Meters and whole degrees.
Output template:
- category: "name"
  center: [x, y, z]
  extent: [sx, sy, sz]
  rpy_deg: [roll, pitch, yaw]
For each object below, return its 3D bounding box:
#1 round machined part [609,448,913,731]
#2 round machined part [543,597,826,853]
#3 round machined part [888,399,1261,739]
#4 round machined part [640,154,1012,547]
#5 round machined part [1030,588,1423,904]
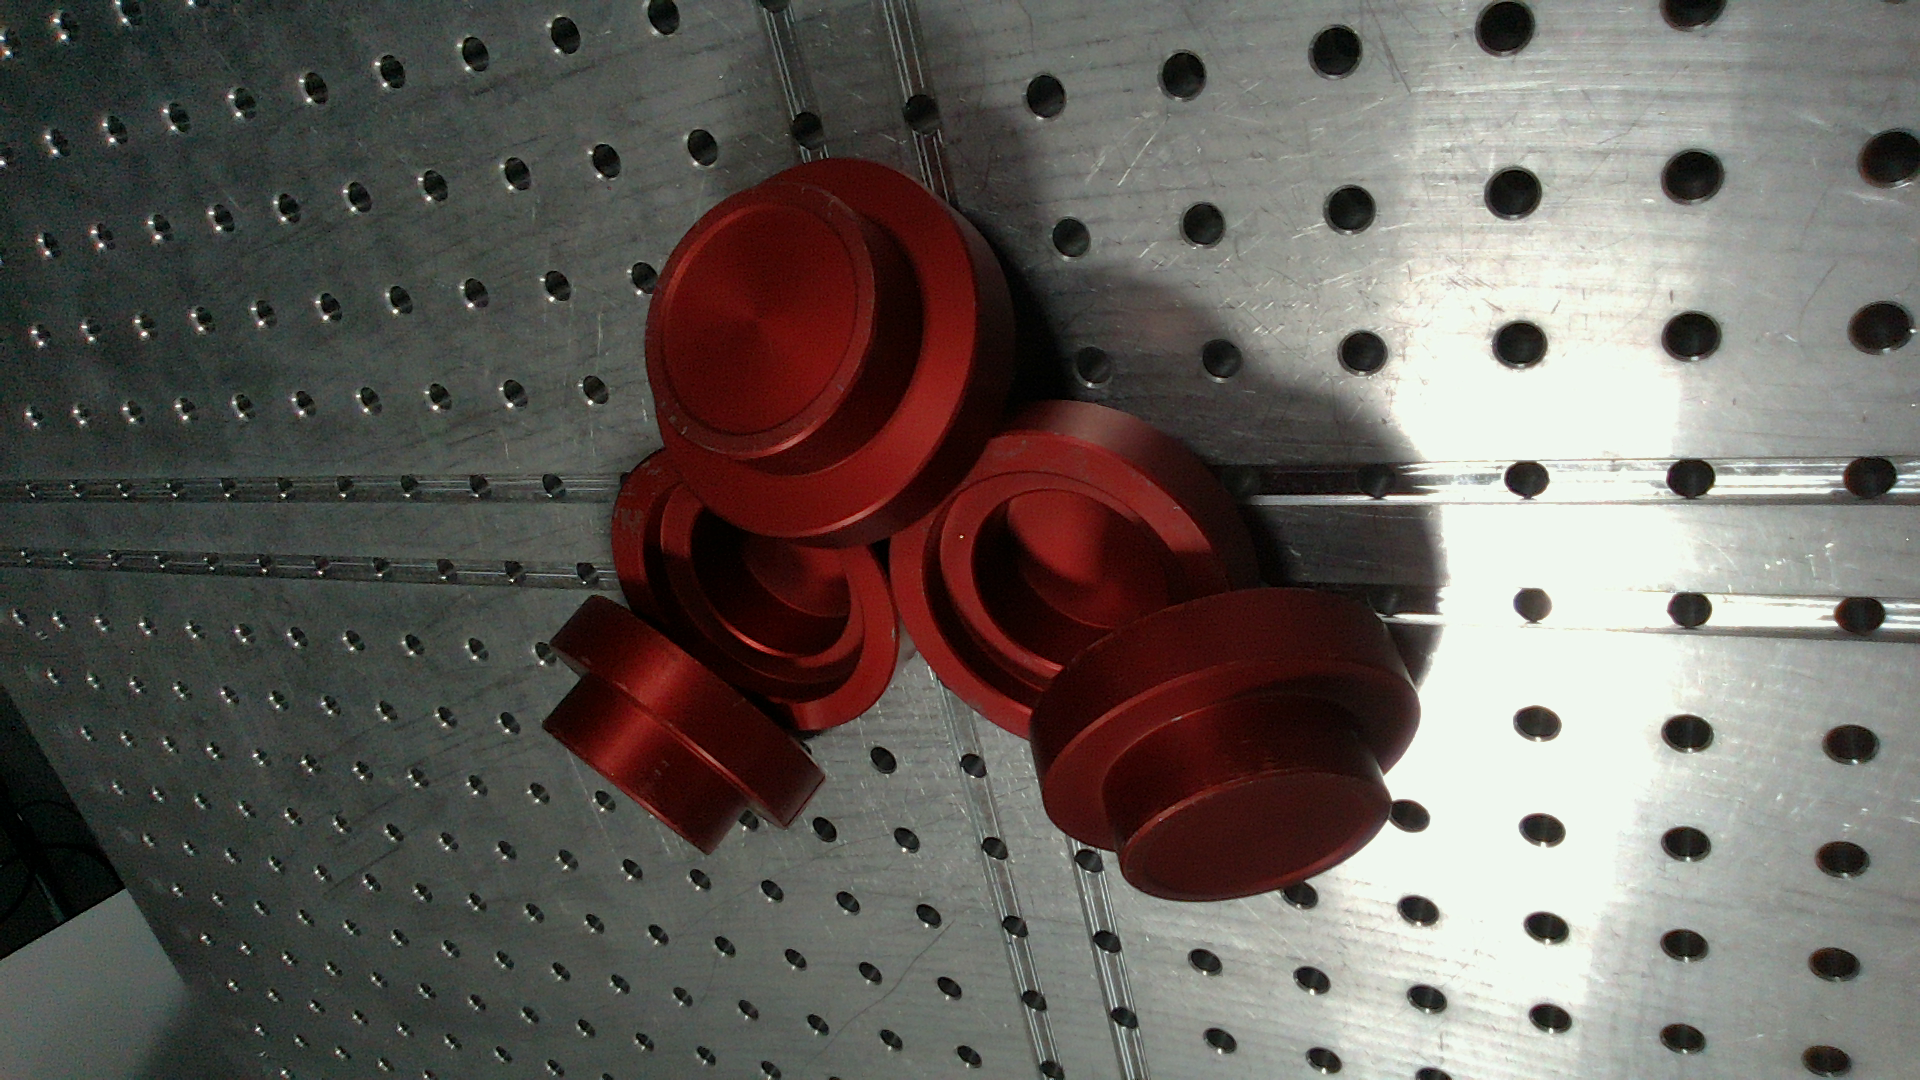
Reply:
- category: "round machined part"
  center: [-0.053, 0.006, 0.416]
  extent: [0.098, 0.042, 0.098]
  rpy_deg: [13, 124, 21]
- category: "round machined part"
  center: [-0.094, 0.065, 0.446]
  extent: [0.098, 0.042, 0.098]
  rpy_deg: [34, 163, 12]
- category: "round machined part"
  center: [0.033, 0.007, 0.371]
  extent: [0.098, 0.042, 0.098]
  rpy_deg: [13, 124, 21]
- category: "round machined part"
  center: [-0.040, -0.050, 0.342]
  extent: [0.098, 0.042, 0.098]
  rpy_deg: [-6, 78, 27]
- category: "round machined part"
  center: [0.069, 0.058, 0.349]
  extent: [0.098, 0.042, 0.098]
  rpy_deg: [-7, 141, -5]
